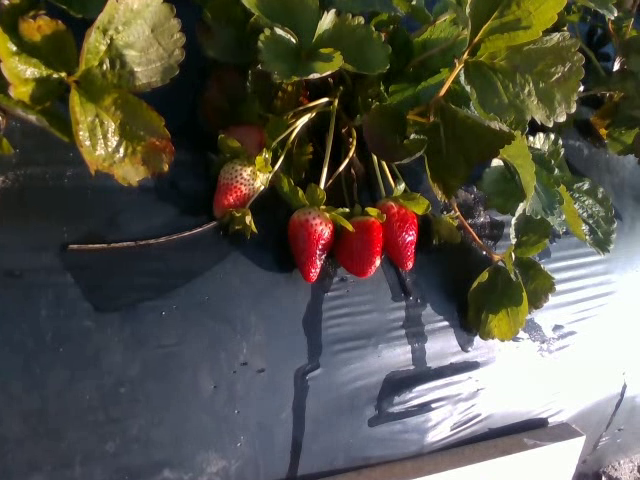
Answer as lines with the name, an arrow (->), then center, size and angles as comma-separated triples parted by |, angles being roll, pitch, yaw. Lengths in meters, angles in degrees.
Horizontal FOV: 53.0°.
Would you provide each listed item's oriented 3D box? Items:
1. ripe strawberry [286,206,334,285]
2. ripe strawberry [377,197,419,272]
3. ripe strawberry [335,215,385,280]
ripe strawberry -> -0.004, 0.003, 0.354 | 0.031, 0.046, 0.023 | -1, 4, -27
ripe strawberry -> 0.048, 0.003, 0.379 | 0.035, 0.041, 0.034 | -5, -30, -26
ripe strawberry -> 0.025, 0.004, 0.362 | 0.030, 0.037, 0.039 | 11, 39, -30
